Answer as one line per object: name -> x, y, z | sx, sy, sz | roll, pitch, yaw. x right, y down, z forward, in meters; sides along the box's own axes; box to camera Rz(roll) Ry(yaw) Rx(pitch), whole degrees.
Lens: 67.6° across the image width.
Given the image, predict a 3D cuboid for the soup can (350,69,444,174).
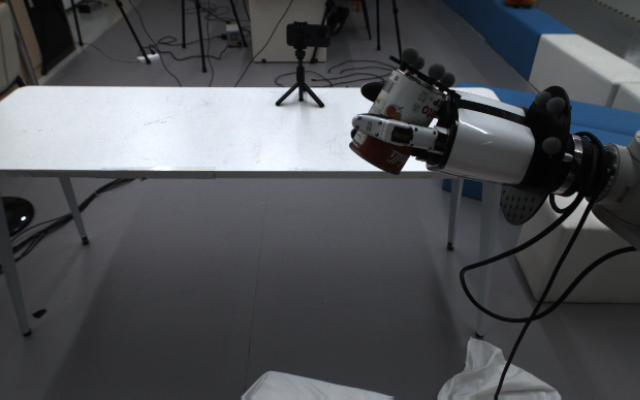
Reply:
soup can -> 0.088, -0.088, 0.543 | 0.067, 0.101, 0.067 | 27, 18, -9
